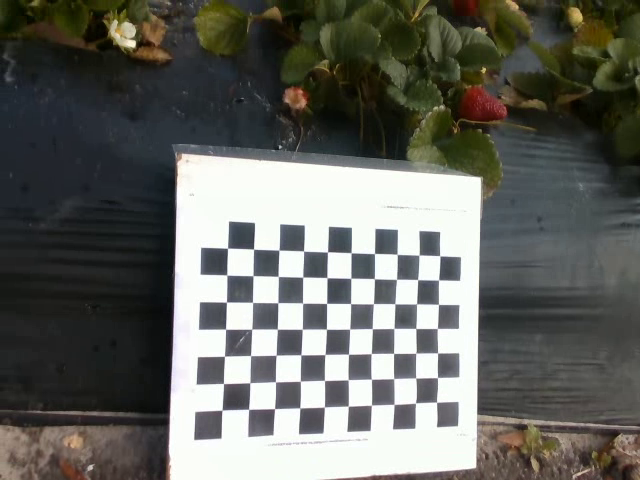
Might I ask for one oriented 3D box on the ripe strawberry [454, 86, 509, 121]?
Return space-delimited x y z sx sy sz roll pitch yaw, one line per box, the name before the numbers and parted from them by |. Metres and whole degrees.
ripe strawberry | 0.171 -0.138 0.803 0.064 0.051 0.043 37 -15 -15
